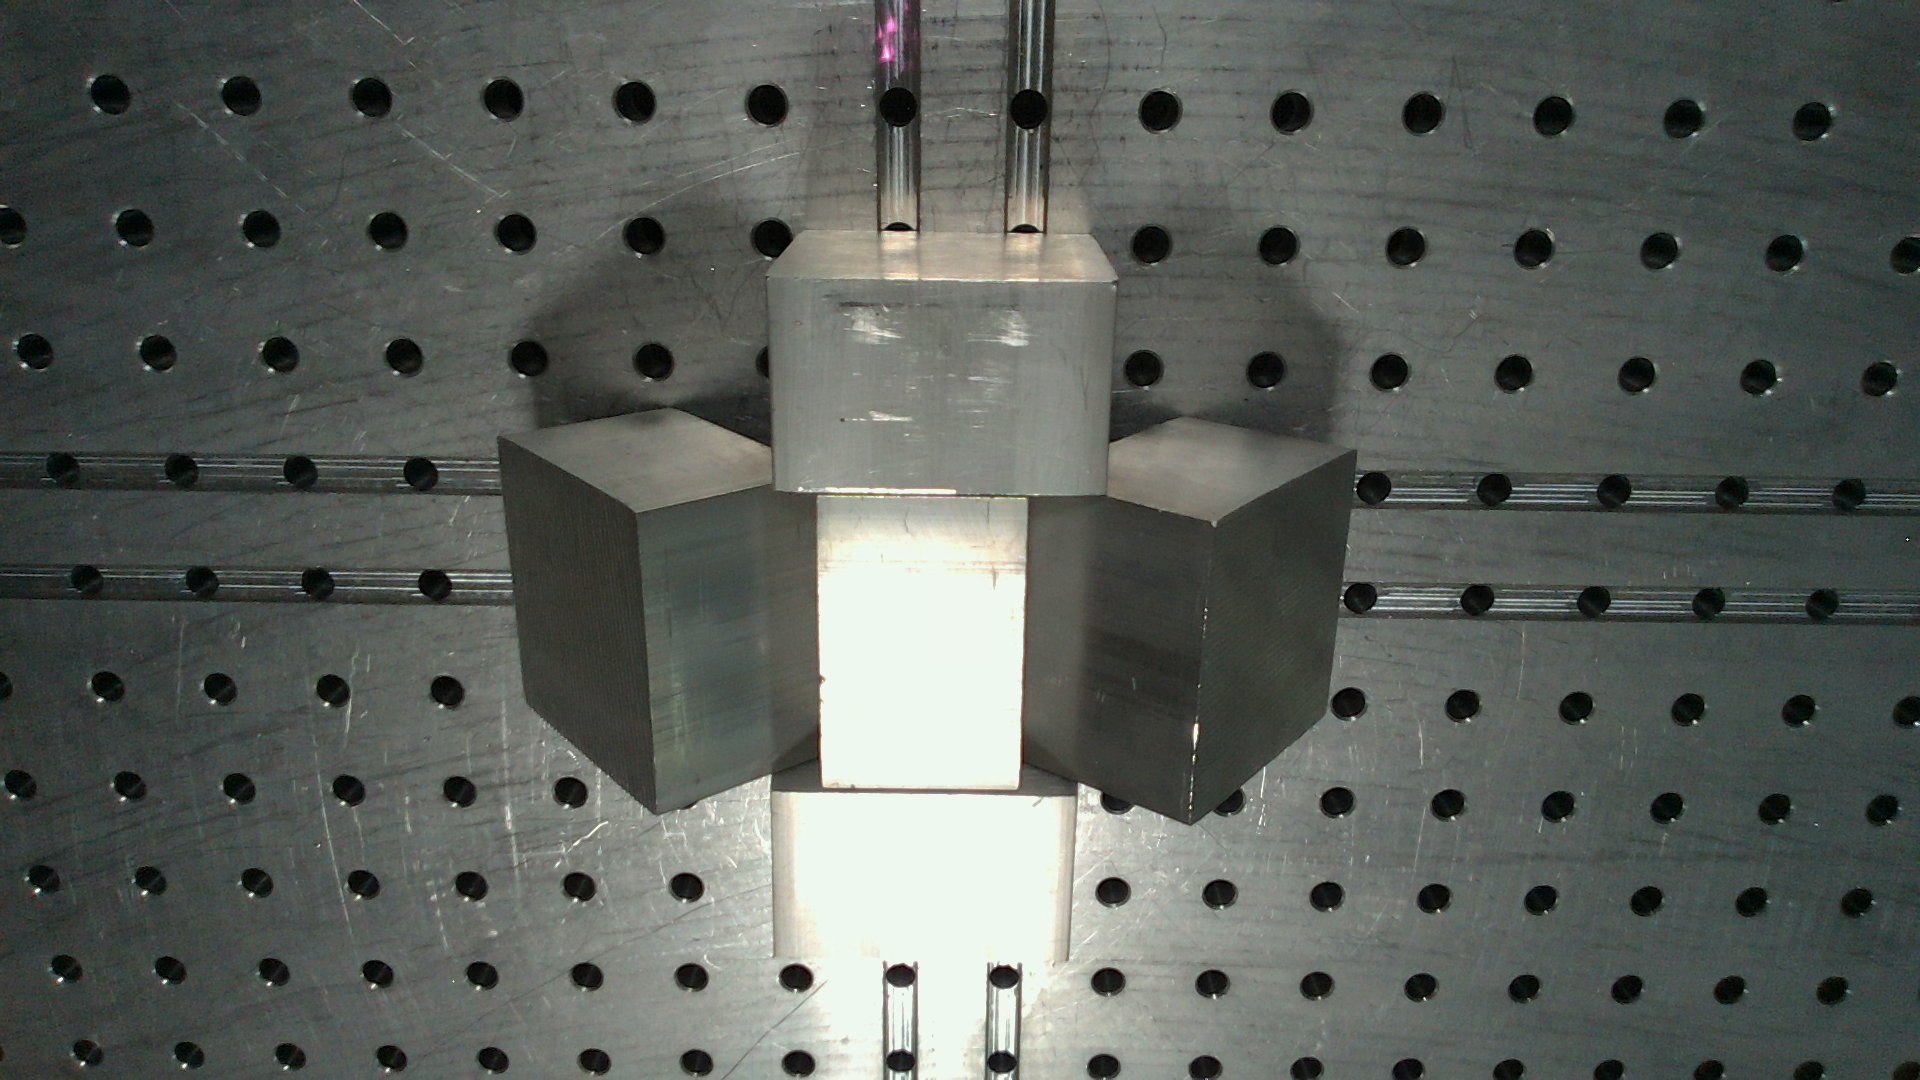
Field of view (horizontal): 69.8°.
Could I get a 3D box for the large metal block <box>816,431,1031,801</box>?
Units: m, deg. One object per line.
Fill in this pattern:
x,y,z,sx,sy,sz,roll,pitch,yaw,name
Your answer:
-0.009,0.014,0.371,0.050,0.080,0.080,1,110,0,large metal block

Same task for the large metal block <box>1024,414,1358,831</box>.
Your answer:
0.061,0.017,0.365,0.050,0.080,0.080,15,114,35,large metal block

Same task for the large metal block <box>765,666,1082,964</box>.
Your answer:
-0.009,0.075,0.393,0.080,0.080,0.050,1,110,0,large metal block

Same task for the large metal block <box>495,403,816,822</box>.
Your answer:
-0.079,0.015,0.366,0.050,0.080,0.080,-16,116,-37,large metal block

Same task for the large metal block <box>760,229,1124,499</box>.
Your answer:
-0.004,-0.048,0.348,0.080,0.080,0.050,1,110,0,large metal block
